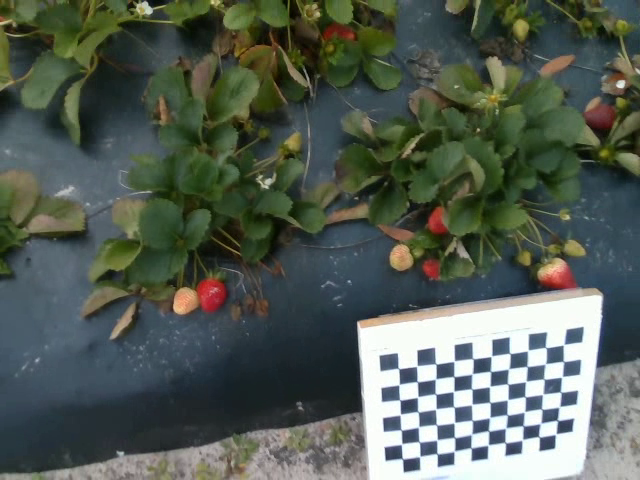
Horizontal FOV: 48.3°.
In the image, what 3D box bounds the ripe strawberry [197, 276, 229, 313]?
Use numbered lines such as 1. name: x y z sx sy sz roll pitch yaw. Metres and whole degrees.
1. ripe strawberry: -0.116 0.061 0.757 0.034 0.042 0.033 23 -43 -15
